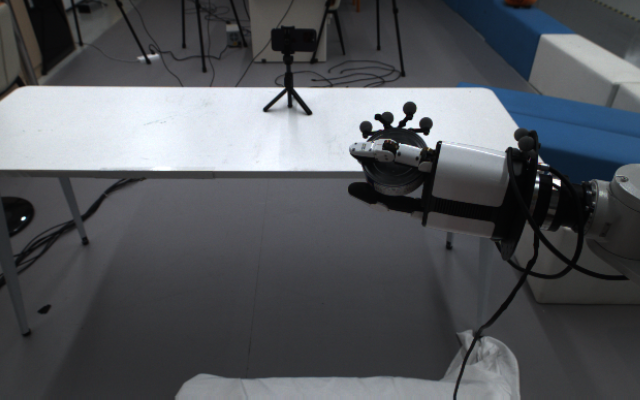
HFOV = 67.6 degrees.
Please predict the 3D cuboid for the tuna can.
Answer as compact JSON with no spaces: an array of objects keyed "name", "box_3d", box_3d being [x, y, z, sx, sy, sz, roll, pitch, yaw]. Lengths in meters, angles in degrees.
[{"name":"tuna can","box_3d":[0.097,-0.050,0.625,0.085,0.034,0.085,-6,61,10]}]
